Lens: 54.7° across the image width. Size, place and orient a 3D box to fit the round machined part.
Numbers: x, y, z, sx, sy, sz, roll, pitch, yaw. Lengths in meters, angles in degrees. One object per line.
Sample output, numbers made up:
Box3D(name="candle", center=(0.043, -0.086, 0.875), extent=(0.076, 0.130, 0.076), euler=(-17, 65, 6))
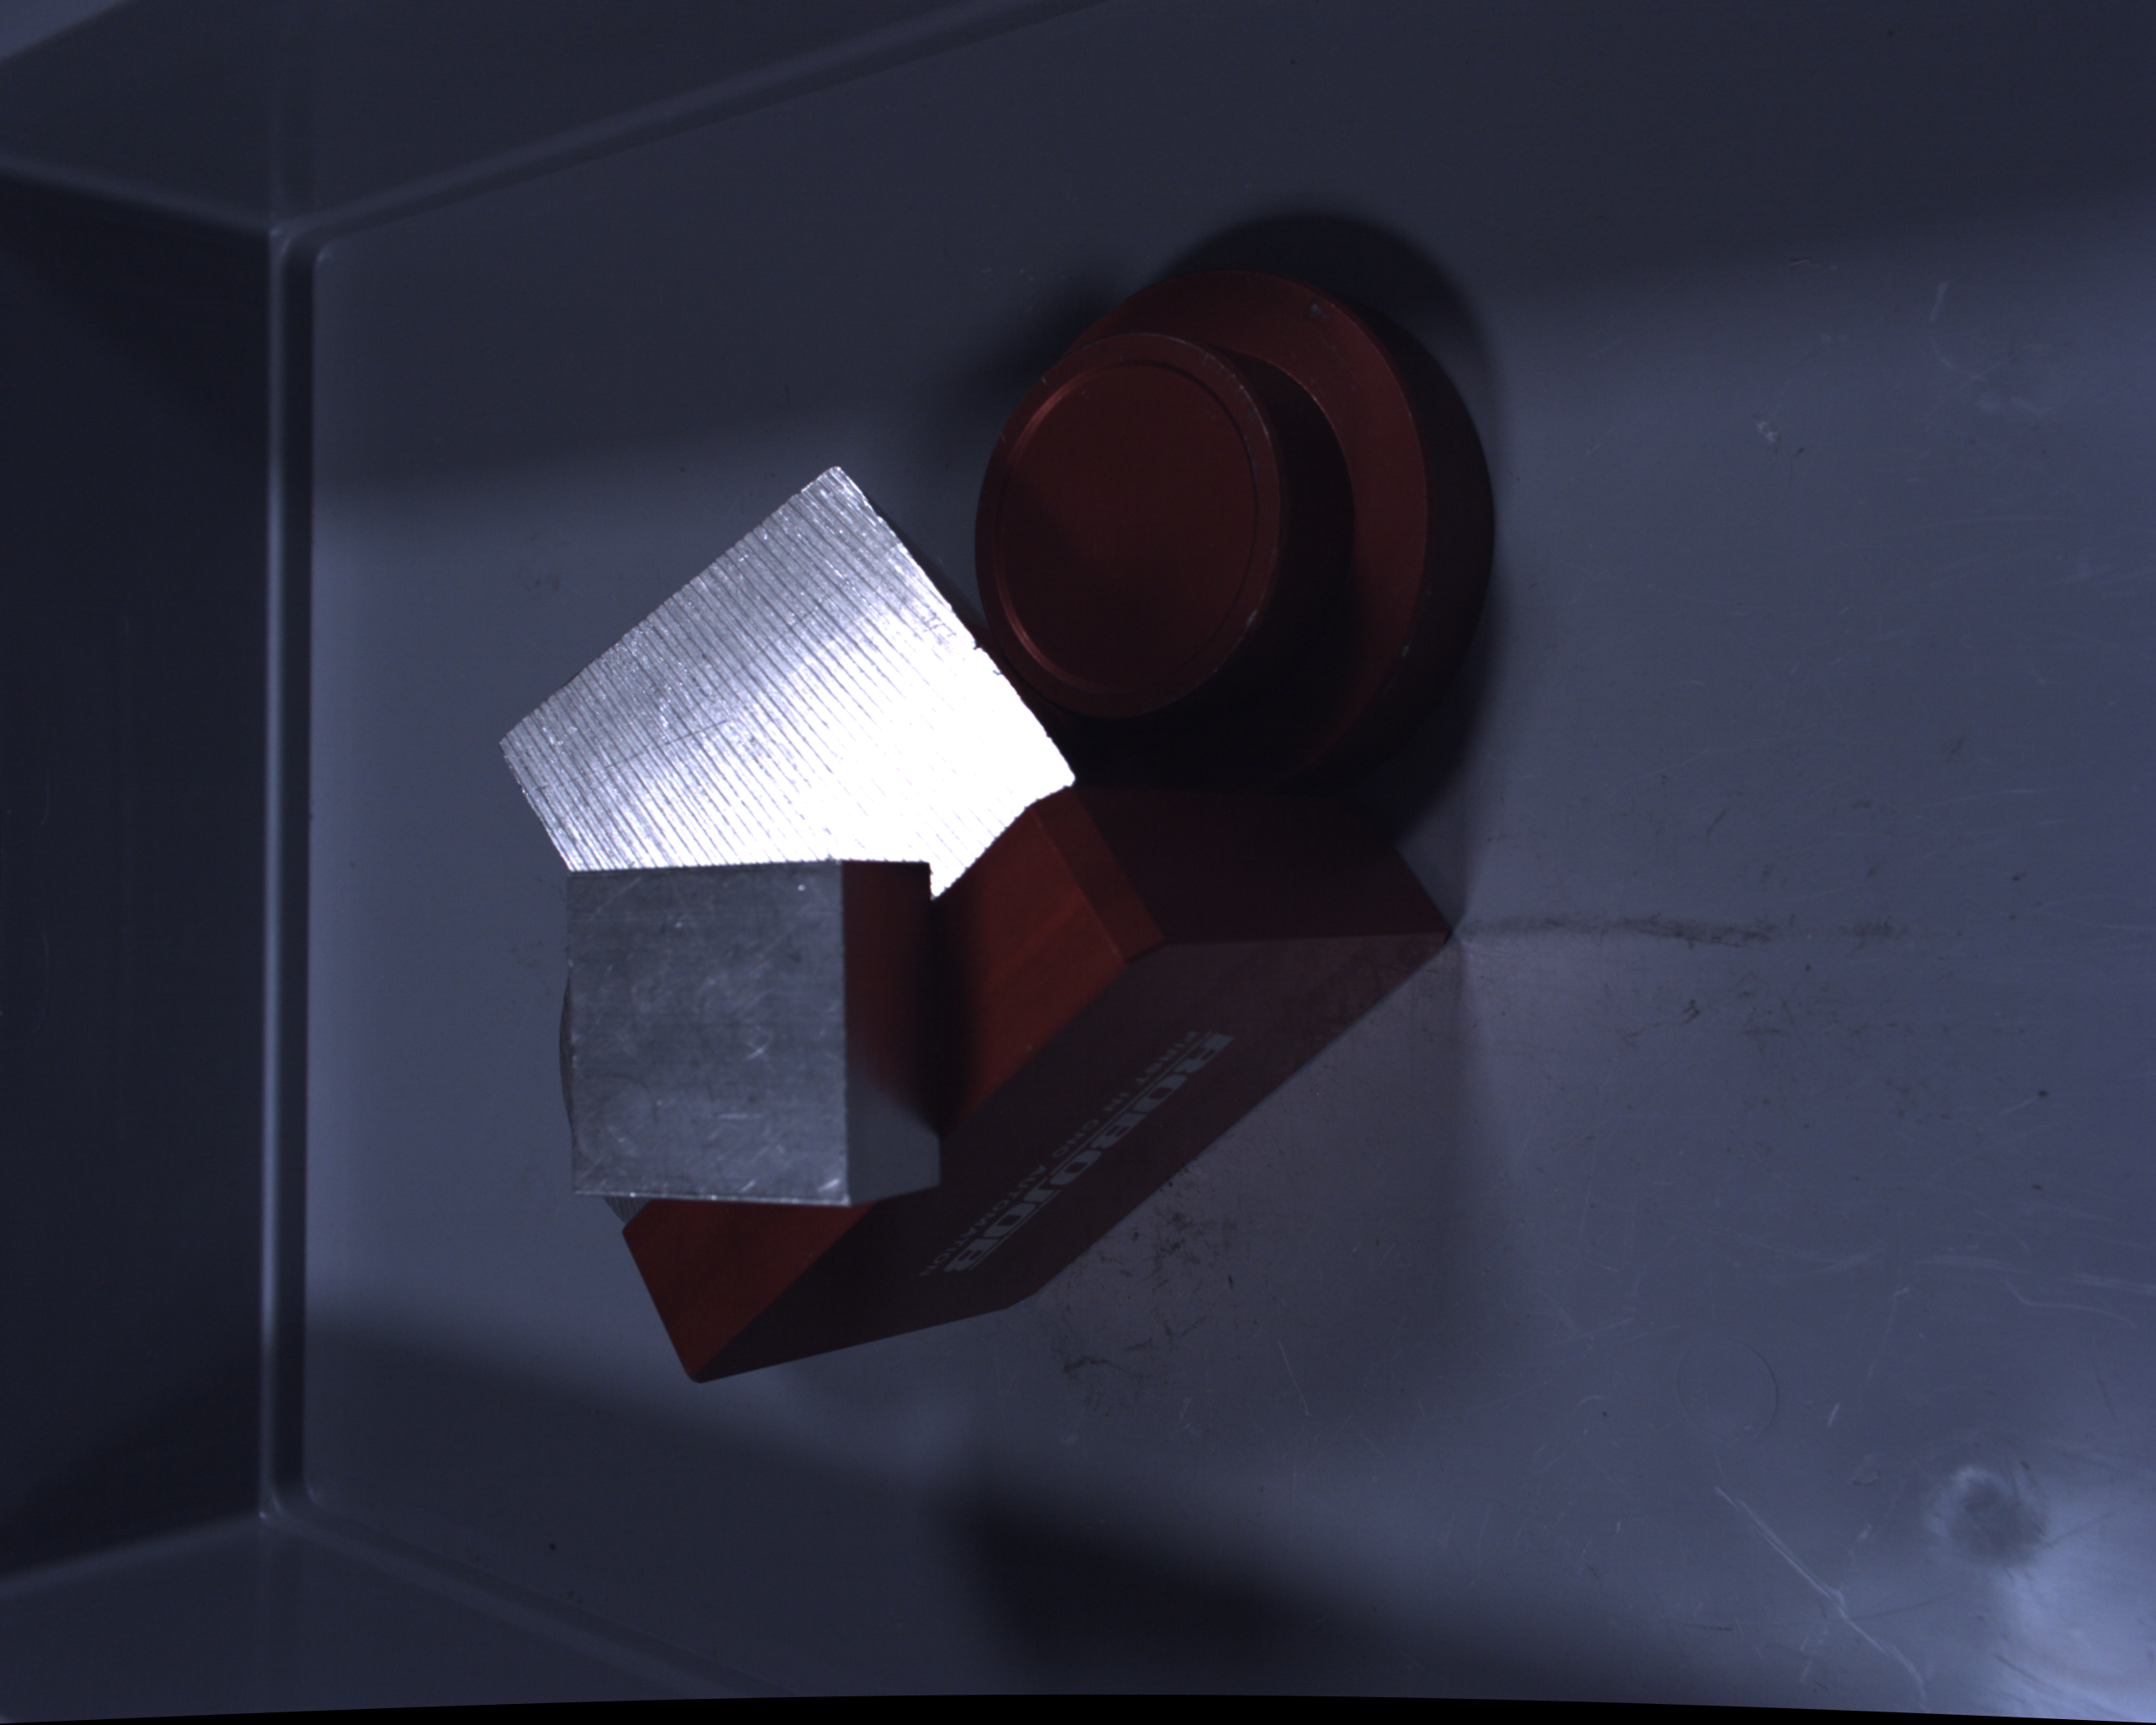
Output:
Box3D(name="round machined part", center=(0.020, -0.058, 0.375), extent=(0.098, 0.042, 0.097), euler=(0, 90, 39))

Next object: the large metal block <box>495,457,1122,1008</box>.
Box3D(name="large metal block", center=(-0.044, -0.011, 0.376), extent=(0.080, 0.050, 0.080), euler=(-39, 64, 6))

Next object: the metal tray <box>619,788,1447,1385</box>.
Box3D(name="metal tray", center=(-0.008, 0.040, 0.367), extent=(0.129, 0.091, 0.030), euler=(-45, 63, 30))

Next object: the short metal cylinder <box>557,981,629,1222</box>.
Box3D(name="short metal cylinder", center=(-0.064, 0.039, 0.439), extent=(0.080, 0.050, 0.079), euler=(0, 90, 39))

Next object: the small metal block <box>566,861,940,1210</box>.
Box3D(name="small metal block", center=(-0.050, 0.026, 0.320), extent=(0.050, 0.025, 0.050), euler=(-2, 88, 26))
